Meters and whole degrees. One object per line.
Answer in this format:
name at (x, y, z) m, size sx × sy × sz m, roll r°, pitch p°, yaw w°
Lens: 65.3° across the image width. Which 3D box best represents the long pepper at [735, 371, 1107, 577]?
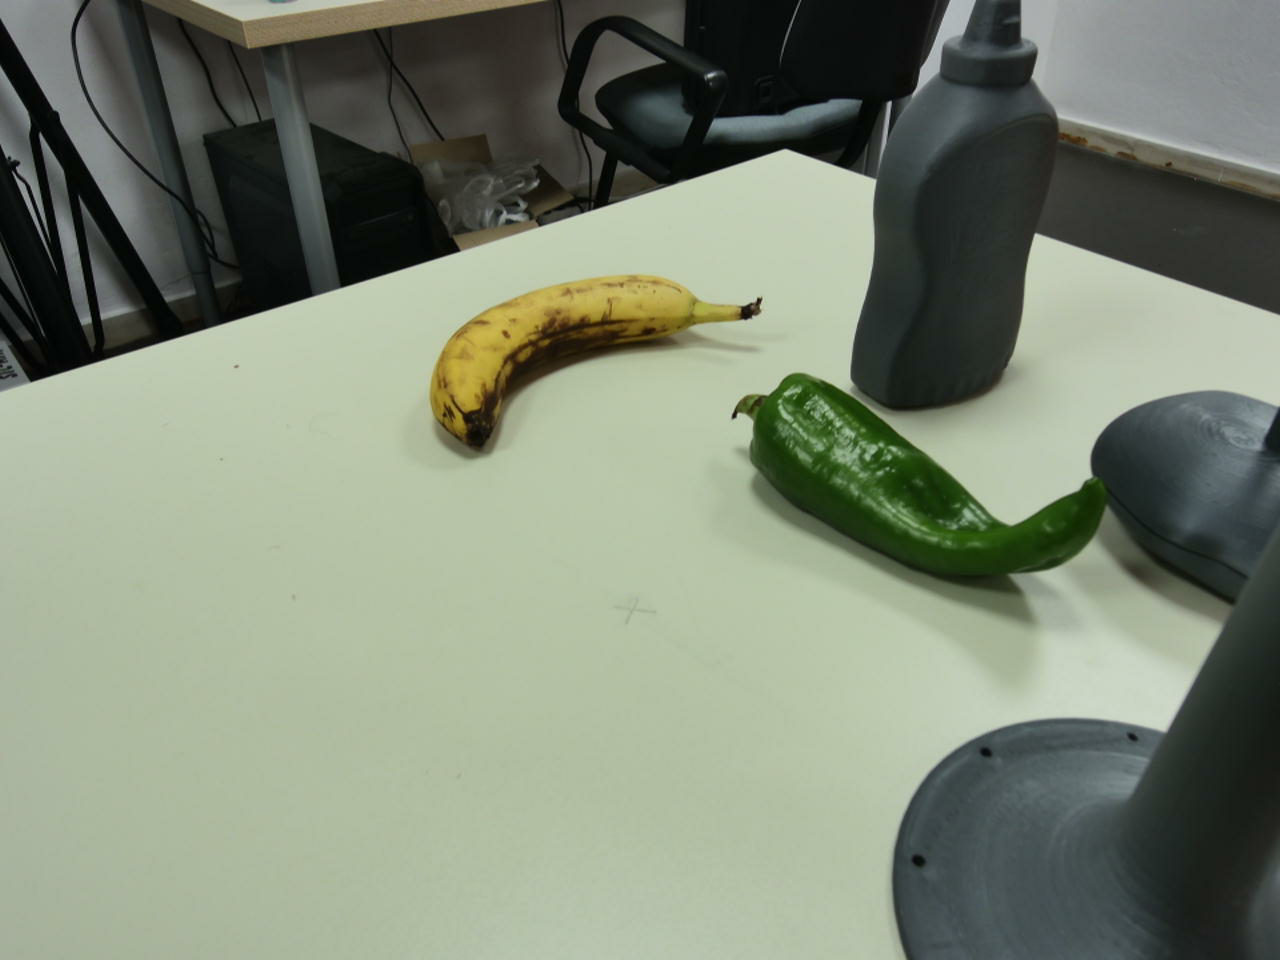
long pepper at (0.105, -0.006, 0.425) m, size 0.058 × 0.065 × 0.175 m, roll -25°, pitch 42°, yaw -31°
